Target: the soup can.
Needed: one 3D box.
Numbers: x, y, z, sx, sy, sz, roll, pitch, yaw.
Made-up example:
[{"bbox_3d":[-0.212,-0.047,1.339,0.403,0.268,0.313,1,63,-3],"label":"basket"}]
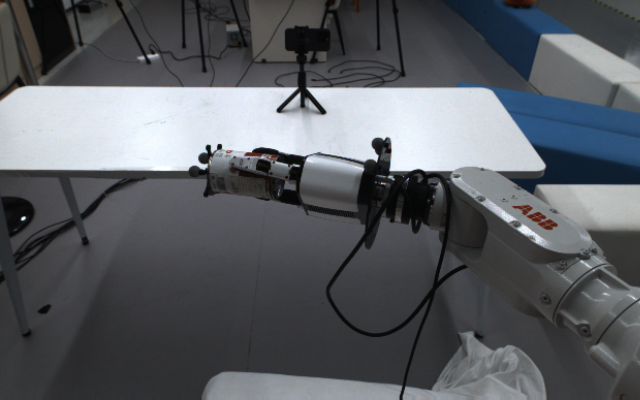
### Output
[{"bbox_3d":[-0.108,-0.038,0.725,0.101,0.067,0.067,6,35,11],"label":"soup can"}]
